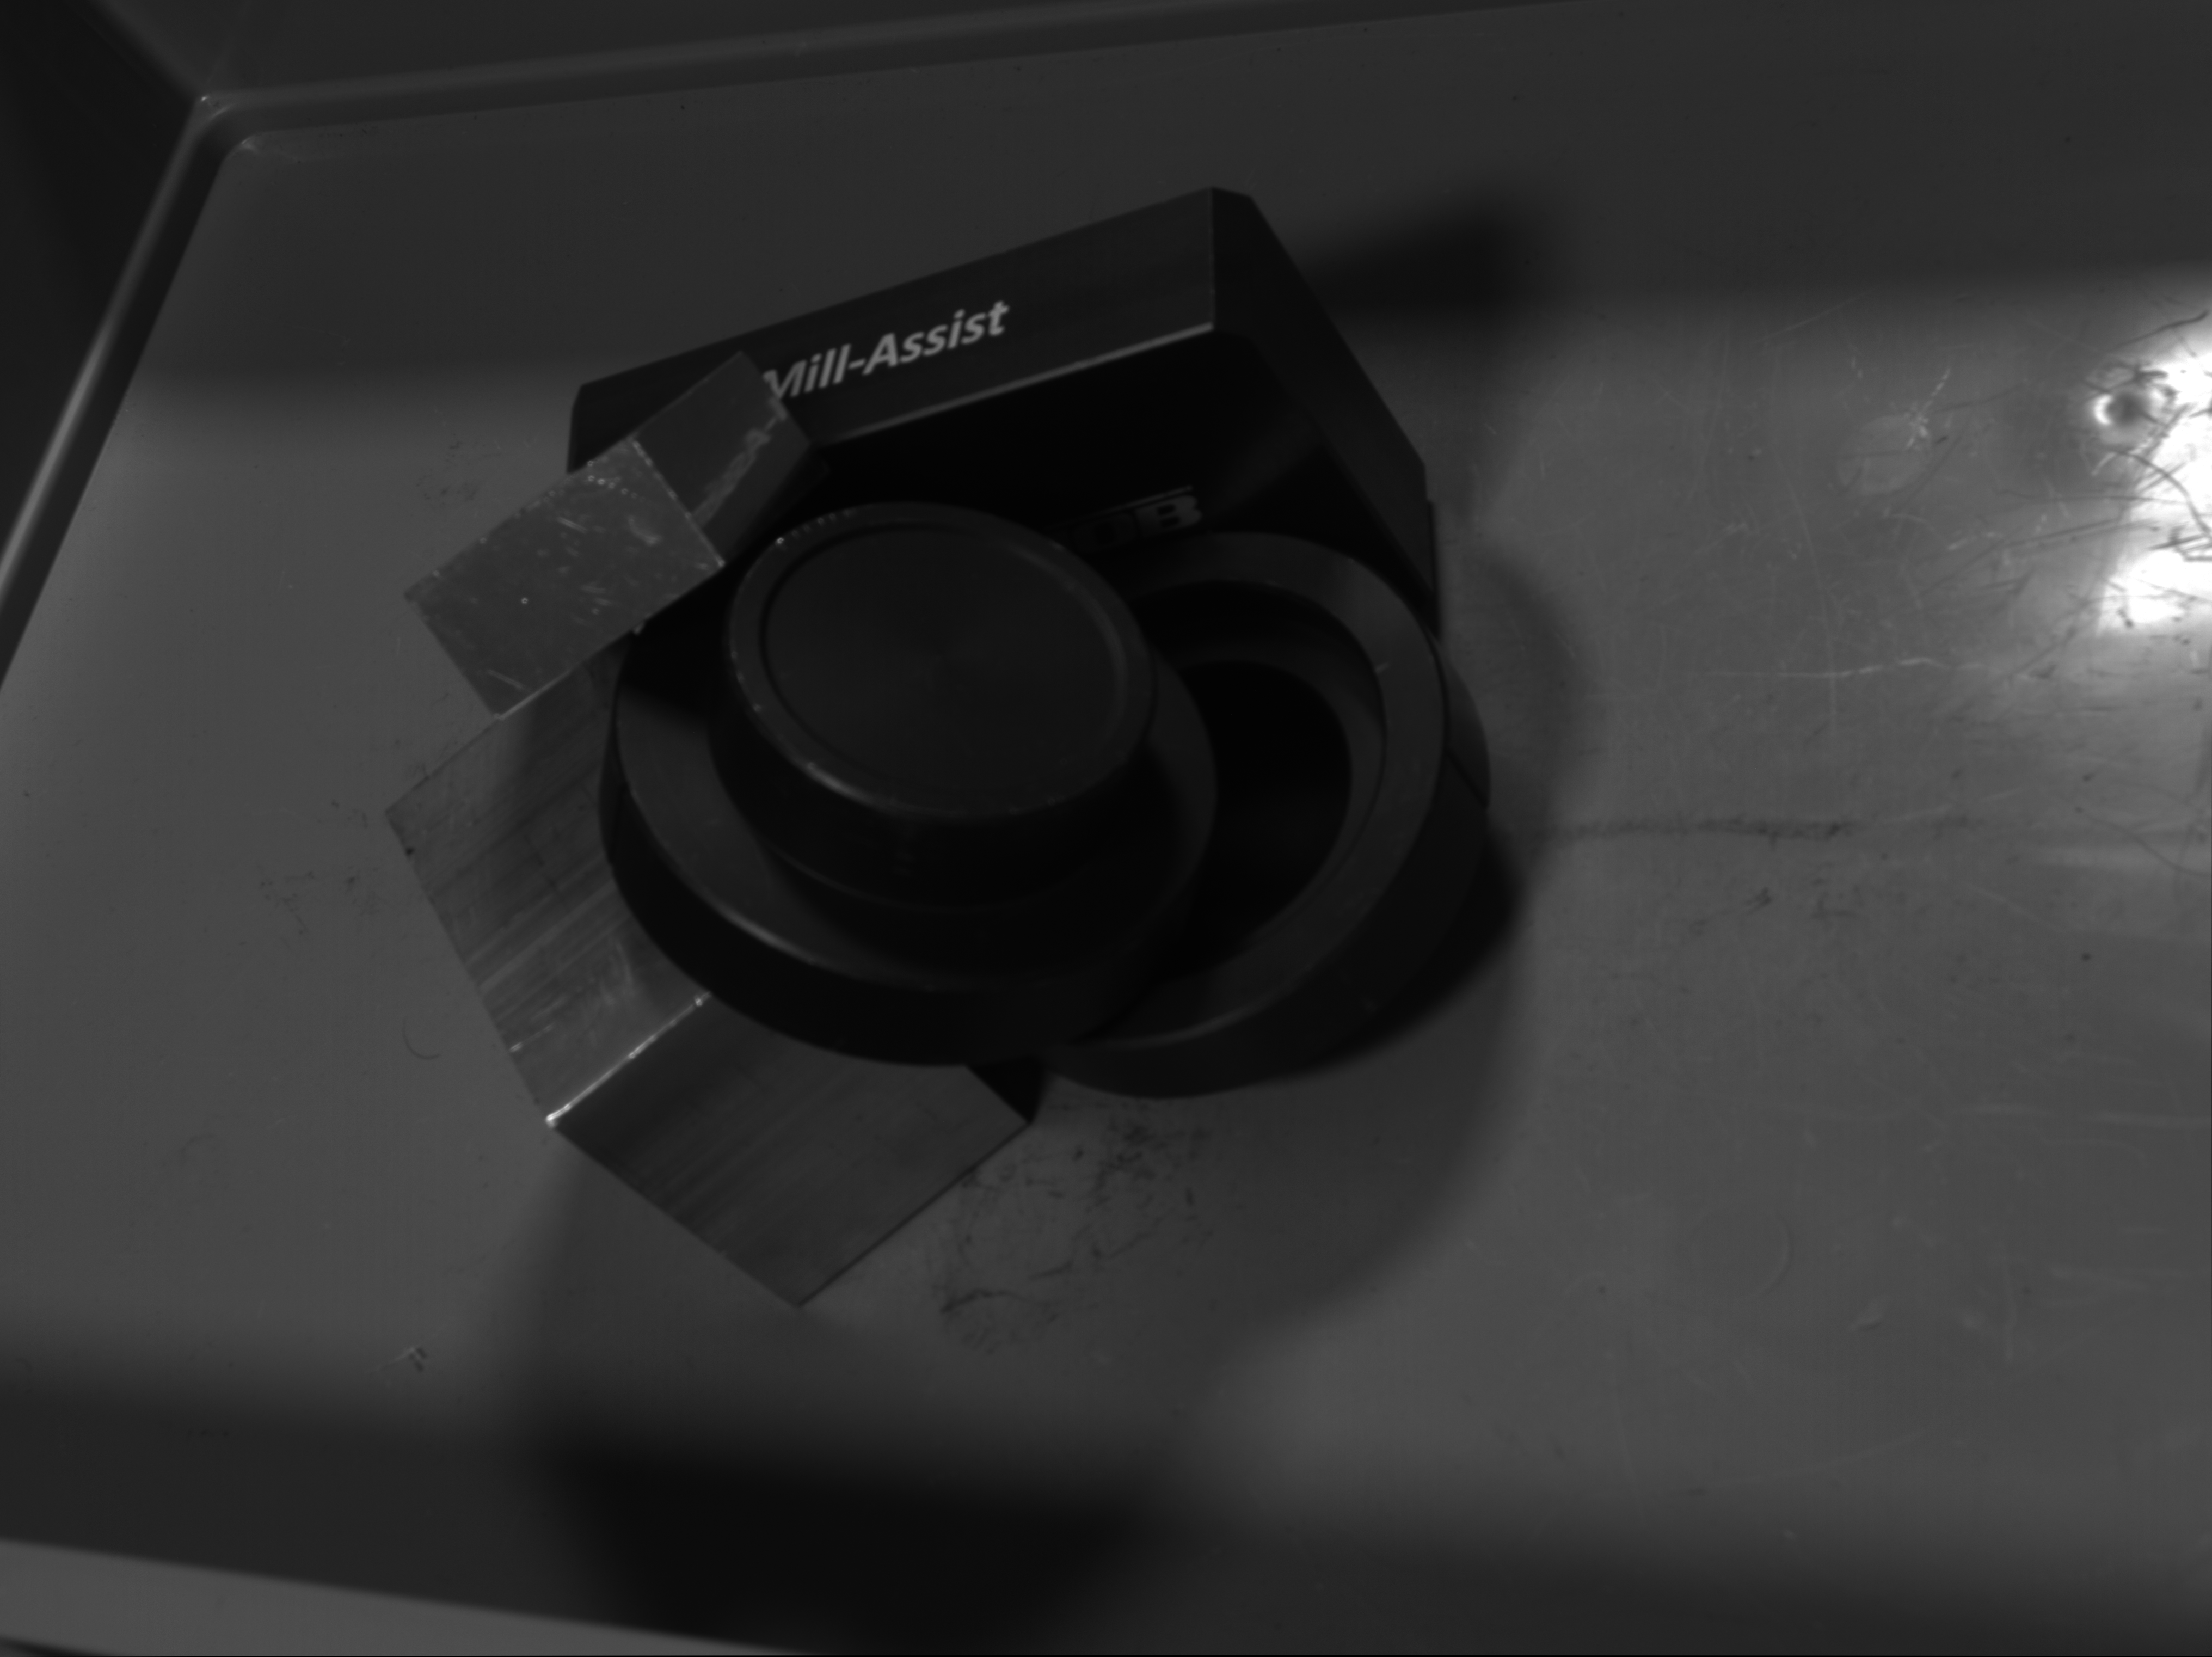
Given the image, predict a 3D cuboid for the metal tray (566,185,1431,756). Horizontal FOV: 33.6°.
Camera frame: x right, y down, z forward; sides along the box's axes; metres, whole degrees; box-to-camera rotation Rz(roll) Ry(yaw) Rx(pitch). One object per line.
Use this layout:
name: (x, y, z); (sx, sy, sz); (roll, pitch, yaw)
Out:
metal tray: (-0.018, -0.058, 0.646); (0.130, 0.090, 0.030); (-14, 56, 20)

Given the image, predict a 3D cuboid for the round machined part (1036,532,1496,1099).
round machined part: (0.020, 0.002, 0.621); (0.098, 0.042, 0.098); (-13, 56, 21)

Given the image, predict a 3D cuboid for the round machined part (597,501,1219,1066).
round machined part: (-0.029, -0.014, 0.581); (0.098, 0.042, 0.098); (9, 48, -10)

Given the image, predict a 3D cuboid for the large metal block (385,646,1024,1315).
large metal block: (-0.069, 0.025, 0.629); (0.050, 0.080, 0.080); (-38, 51, 3)

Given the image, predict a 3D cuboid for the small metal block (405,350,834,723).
small metal block: (-0.078, -0.048, 0.595); (0.050, 0.025, 0.050); (-31, 11, 25)
